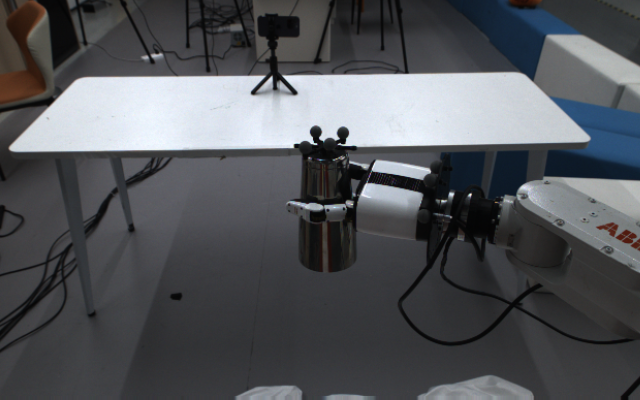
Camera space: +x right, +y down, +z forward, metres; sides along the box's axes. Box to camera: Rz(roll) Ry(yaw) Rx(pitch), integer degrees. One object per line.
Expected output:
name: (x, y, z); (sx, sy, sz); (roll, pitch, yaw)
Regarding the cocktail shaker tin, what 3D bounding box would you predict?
cocktail shaker tin: (0.011, 0.009, 0.715); (0.093, 0.170, 0.093); (-1, 26, 1)
